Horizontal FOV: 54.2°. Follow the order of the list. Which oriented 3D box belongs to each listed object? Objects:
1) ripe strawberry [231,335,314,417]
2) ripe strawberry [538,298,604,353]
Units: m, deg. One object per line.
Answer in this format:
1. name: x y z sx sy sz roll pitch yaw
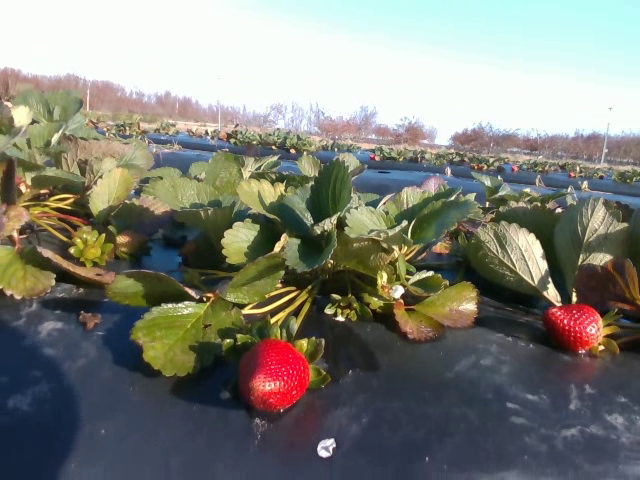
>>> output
1. ripe strawberry: -0.025 0.069 0.310 0.045 0.042 0.055 19 2 8
2. ripe strawberry: 0.152 0.050 0.376 0.046 0.036 0.035 19 31 -2
